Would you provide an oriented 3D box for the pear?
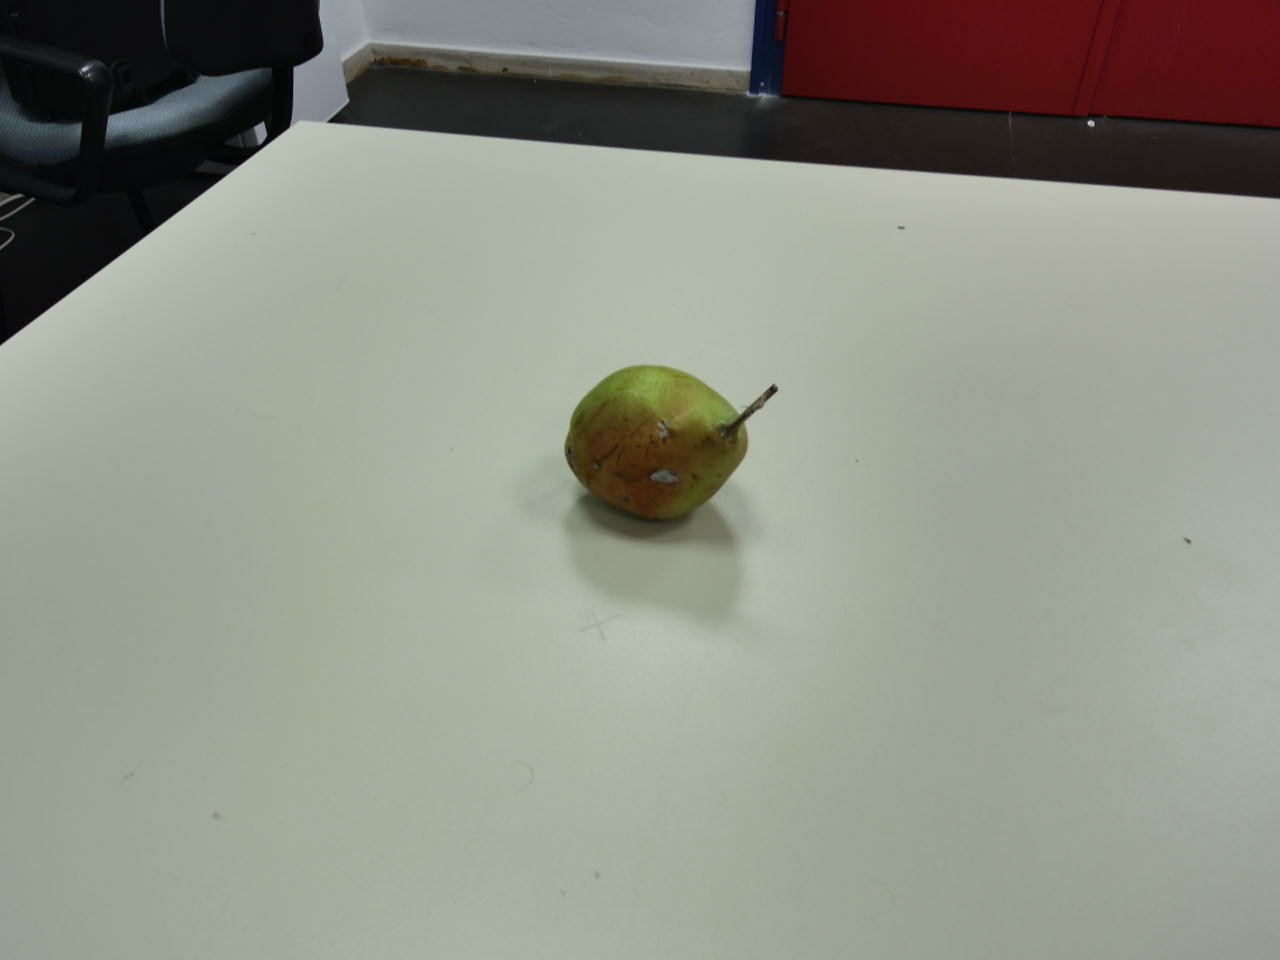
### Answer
[{"bbox_3d":[0.006,-0.018,0.405,0.068,0.069,0.070,-16,41,-19],"label":"pear"}]
